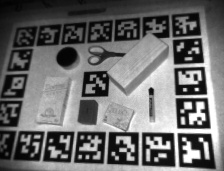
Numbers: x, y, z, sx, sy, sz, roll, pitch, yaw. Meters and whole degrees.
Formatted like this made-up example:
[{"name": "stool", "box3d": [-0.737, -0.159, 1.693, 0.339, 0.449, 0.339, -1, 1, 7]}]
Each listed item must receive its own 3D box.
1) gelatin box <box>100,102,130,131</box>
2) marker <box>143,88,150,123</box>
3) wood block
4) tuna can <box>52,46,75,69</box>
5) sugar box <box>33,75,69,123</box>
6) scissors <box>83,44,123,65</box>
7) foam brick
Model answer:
[{"name": "gelatin box", "box3d": [0.010, 0.107, 0.751, 0.088, 0.030, 0.073, 18, 78, 17]}, {"name": "marker", "box3d": [0.119, 0.068, 0.744, 0.019, 0.020, 0.121, 1, 75, 13]}, {"name": "wood block", "box3d": [0.083, -0.070, 0.764, 0.206, 0.092, 0.089, -44, 68, -5]}, {"name": "tuna can", "box3d": [-0.192, -0.109, 0.858, 0.085, 0.034, 0.085, -3, 72, 11]}, {"name": "sugar box", "box3d": [-0.227, 0.051, 0.812, 0.092, 0.046, 0.176, 4, 73, 13]}, {"name": "scissors", "box3d": [-0.020, -0.117, 0.837, 0.201, 0.016, 0.087, 6, 74, 16]}, {"name": "foam brick", "box3d": [-0.094, 0.095, 0.761, 0.052, 0.052, 0.078, 1, 73, 13]}]
